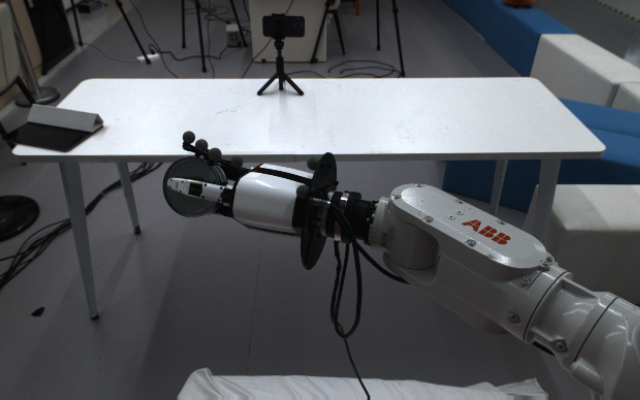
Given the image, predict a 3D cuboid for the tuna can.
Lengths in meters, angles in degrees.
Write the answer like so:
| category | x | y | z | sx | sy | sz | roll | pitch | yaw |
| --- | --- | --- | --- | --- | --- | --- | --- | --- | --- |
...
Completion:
| category | x | y | z | sx | sy | sz | roll | pitch | yaw |
| --- | --- | --- | --- | --- | --- | --- | --- | --- | --- |
| tuna can | -0.175 | -0.017 | 0.686 | 0.085 | 0.085 | 0.034 | 10 | 4 | 11 |
